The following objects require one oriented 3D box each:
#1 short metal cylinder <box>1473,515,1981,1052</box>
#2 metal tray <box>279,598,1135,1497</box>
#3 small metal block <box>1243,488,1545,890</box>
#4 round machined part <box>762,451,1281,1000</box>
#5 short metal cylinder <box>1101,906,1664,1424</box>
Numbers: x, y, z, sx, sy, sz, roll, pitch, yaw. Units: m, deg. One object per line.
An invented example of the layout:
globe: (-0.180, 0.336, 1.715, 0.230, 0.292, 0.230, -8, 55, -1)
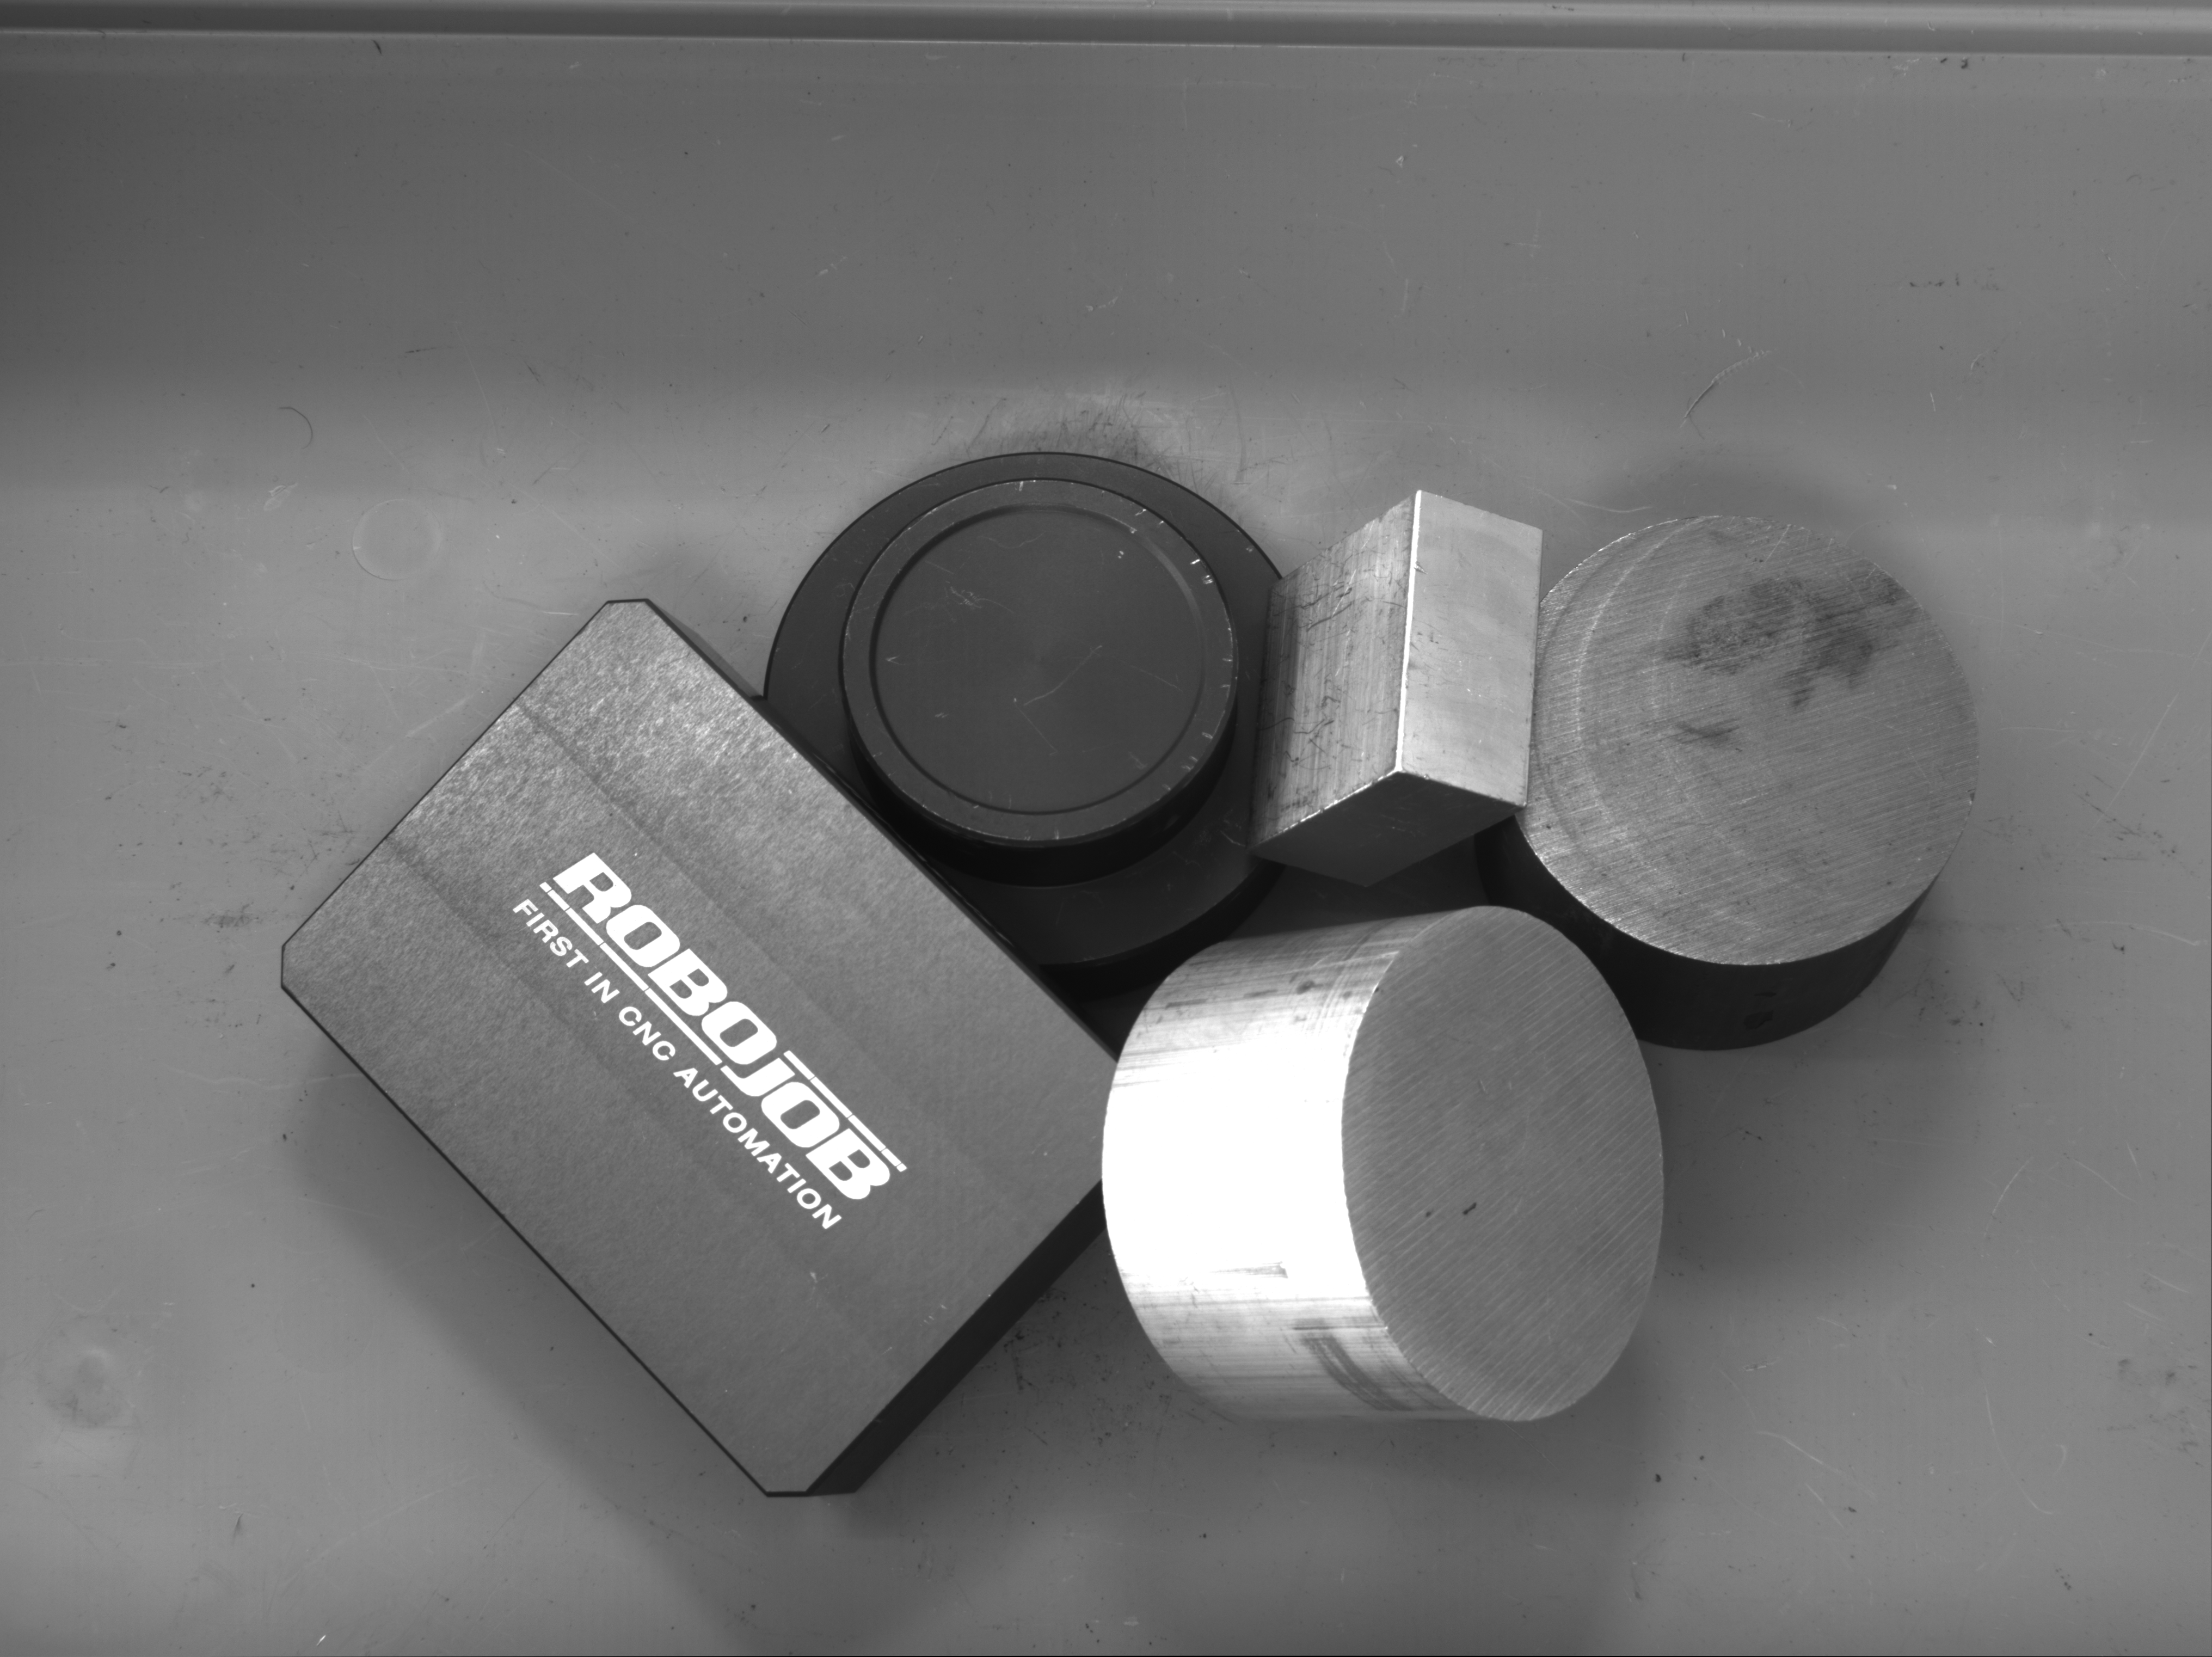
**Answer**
short metal cylinder: (0.105, -0.007, 0.634, 0.080, 0.050, 0.080, 0, 70, 0)
metal tray: (-0.063, 0.036, 0.616, 0.130, 0.030, 0.090, 44, 91, 14)
small metal block: (0.048, -0.023, 0.619, 0.025, 0.050, 0.050, 16, 67, -24)
round machined part: (-0.011, -0.022, 0.643, 0.098, 0.042, 0.098, 0, 70, 0)
short metal cylinder: (0.045, 0.055, 0.588, 0.050, 0.080, 0.080, -10, 62, 44)
